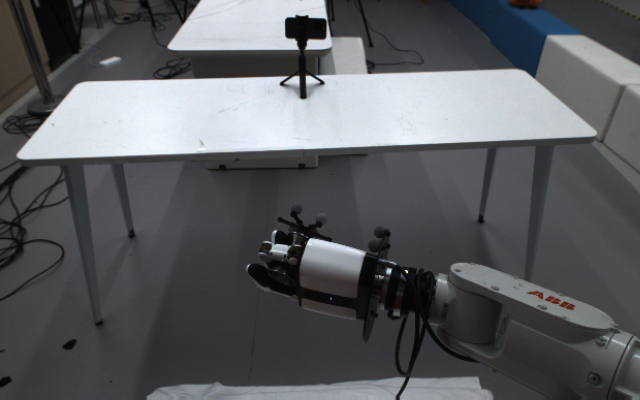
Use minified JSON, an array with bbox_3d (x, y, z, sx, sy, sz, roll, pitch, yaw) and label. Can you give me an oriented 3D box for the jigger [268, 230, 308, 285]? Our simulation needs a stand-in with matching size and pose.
[{"bbox_3d":[-0.041,0.082,0.704,0.043,0.043,0.071,15,58,18],"label":"jigger"}]
